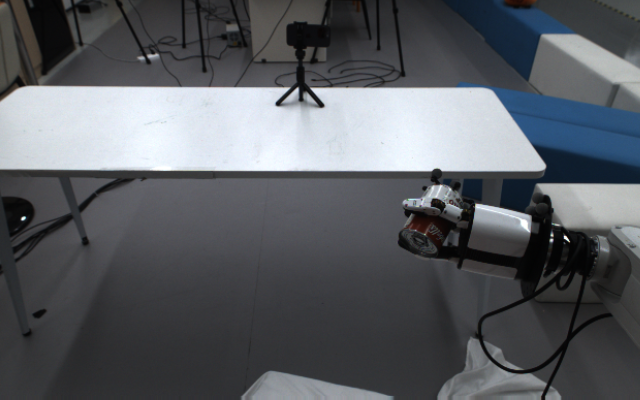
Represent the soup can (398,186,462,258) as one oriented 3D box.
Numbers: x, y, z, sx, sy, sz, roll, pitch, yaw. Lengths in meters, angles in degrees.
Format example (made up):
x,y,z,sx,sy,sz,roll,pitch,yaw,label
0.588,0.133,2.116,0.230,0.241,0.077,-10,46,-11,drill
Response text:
x,y,z,sx,sy,sz,roll,pitch,yaw,label
0.180,0.030,0.769,0.067,0.067,0.101,22,61,26,soup can
